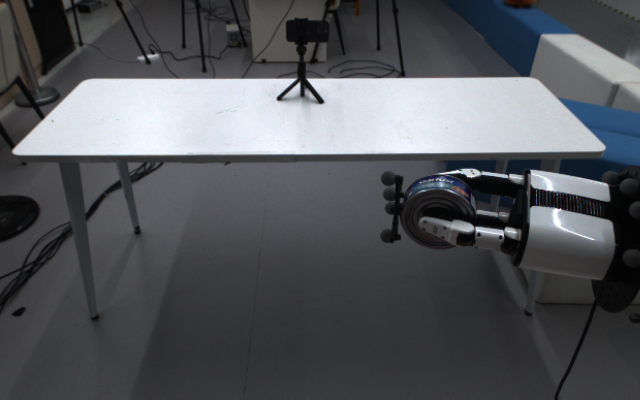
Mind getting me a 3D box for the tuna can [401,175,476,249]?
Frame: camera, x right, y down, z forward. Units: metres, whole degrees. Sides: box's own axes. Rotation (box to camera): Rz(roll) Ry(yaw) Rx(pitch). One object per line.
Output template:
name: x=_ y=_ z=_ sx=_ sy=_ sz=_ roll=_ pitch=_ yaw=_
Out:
tuna can: x=0.140 y=0.011 z=0.562 sx=0.085 sy=0.085 sz=0.034 roll=9 pitch=31 yaw=10
